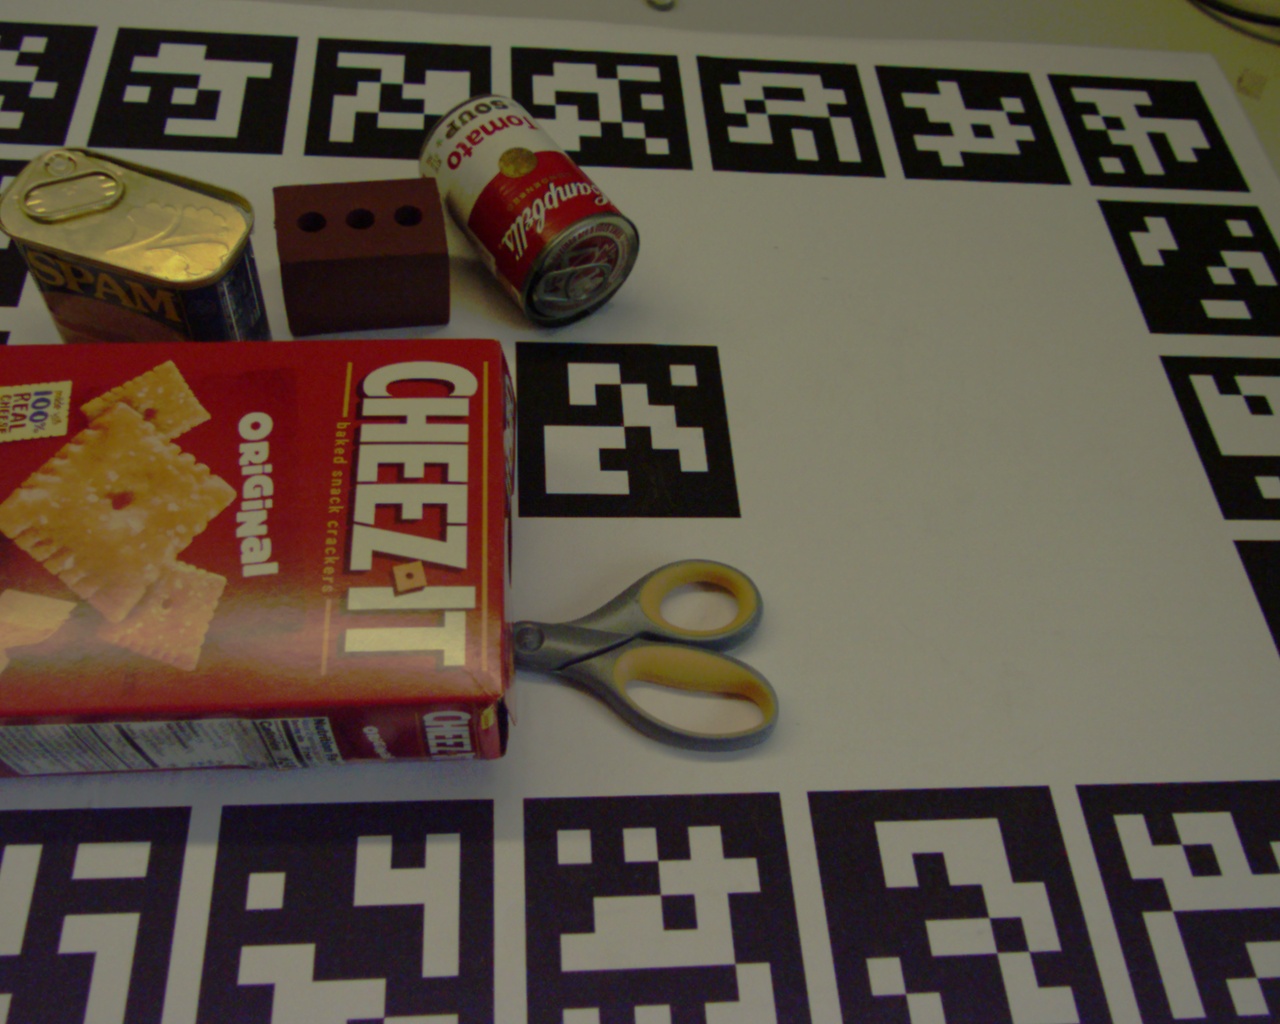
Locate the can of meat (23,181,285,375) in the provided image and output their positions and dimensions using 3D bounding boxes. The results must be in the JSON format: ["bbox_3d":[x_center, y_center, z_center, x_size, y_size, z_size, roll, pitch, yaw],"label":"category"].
[{"bbox_3d":[-0.224,-0.100,0.541,0.102,0.084,0.058,13,60,0],"label":"can of meat"}]

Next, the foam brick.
[{"bbox_3d":[-0.134,-0.118,0.584,0.077,0.051,0.053,-9,62,-12],"label":"foam brick"}]

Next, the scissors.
[{"bbox_3d":[-0.050,0.066,0.494,0.202,0.016,0.088,-4,61,-9],"label":"scissors"}]

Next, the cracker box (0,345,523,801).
[{"bbox_3d":[-0.163,0.019,0.471,0.213,0.072,0.165,-6,60,-6],"label":"cracker box"}]

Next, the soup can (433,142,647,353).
[{"bbox_3d":[-0.055,-0.142,0.606,0.067,0.068,0.103,-35,64,-23],"label":"soup can"}]
